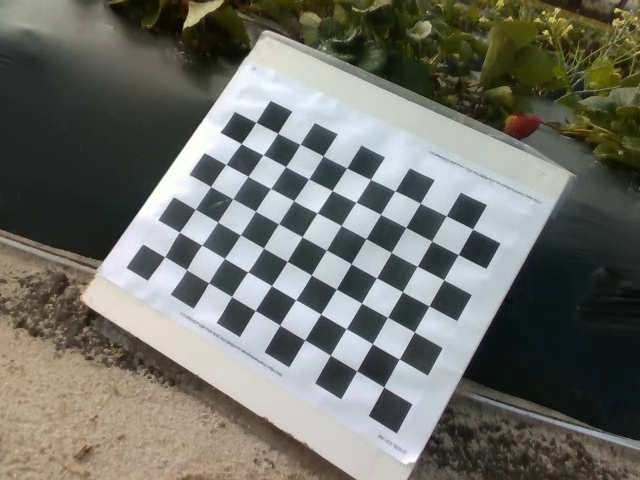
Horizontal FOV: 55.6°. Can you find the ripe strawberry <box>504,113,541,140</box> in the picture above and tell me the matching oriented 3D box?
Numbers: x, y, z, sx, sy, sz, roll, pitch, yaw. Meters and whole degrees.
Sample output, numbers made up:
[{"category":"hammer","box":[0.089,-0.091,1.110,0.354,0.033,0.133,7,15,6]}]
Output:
[{"category":"ripe strawberry","box":[0.132,-0.080,0.400,0.027,0.022,0.021,0,-8,18]}]
